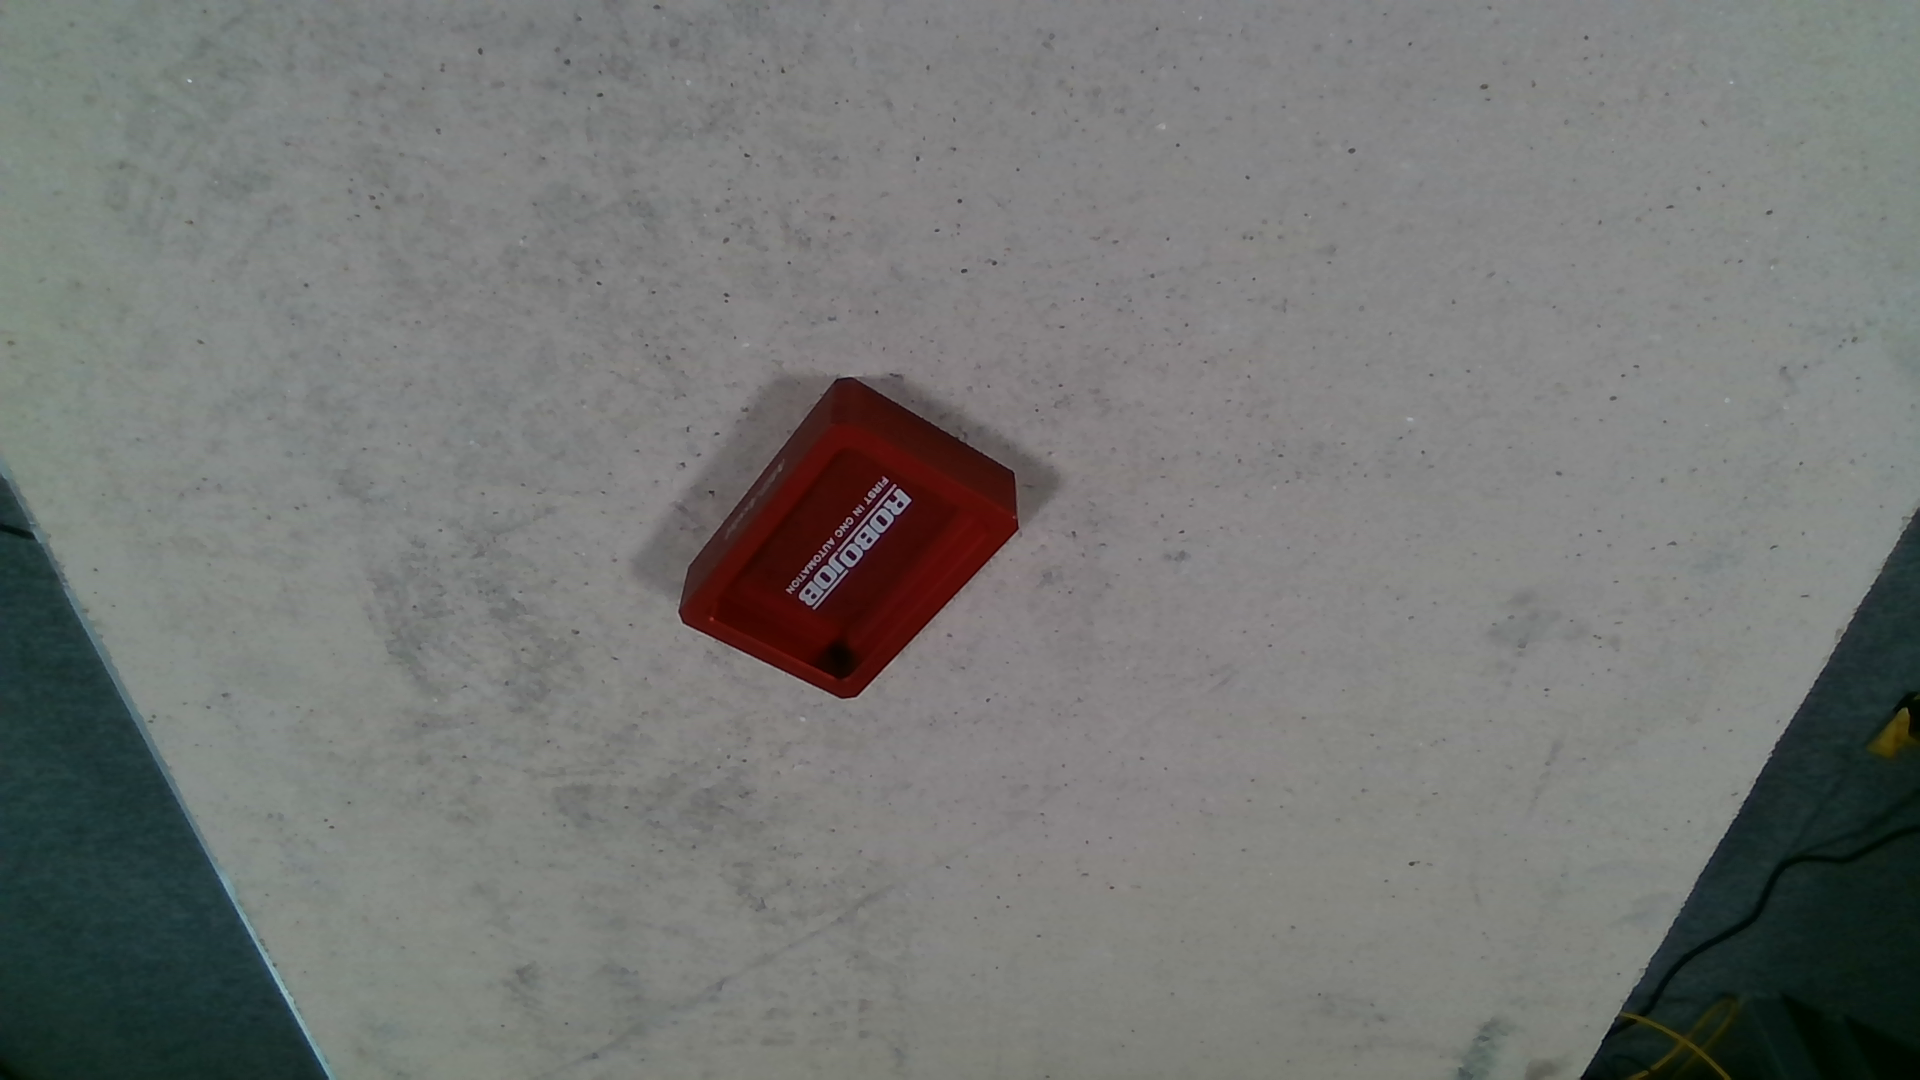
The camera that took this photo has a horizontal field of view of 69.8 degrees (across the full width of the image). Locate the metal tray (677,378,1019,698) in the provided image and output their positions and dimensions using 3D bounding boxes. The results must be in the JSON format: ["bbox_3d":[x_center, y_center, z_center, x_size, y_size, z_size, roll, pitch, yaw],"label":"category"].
[{"bbox_3d":[-0.048,0.004,0.579,0.090,0.030,0.130,29,124,-22],"label":"metal tray"}]
